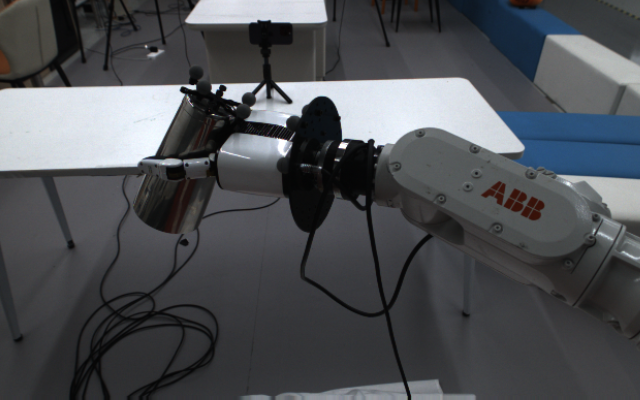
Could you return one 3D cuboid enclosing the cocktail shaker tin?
[{"bbox_3d":[-0.166,-0.053,0.619,0.093,0.170,0.093,25,29,-15],"label":"cocktail shaker tin"}]
